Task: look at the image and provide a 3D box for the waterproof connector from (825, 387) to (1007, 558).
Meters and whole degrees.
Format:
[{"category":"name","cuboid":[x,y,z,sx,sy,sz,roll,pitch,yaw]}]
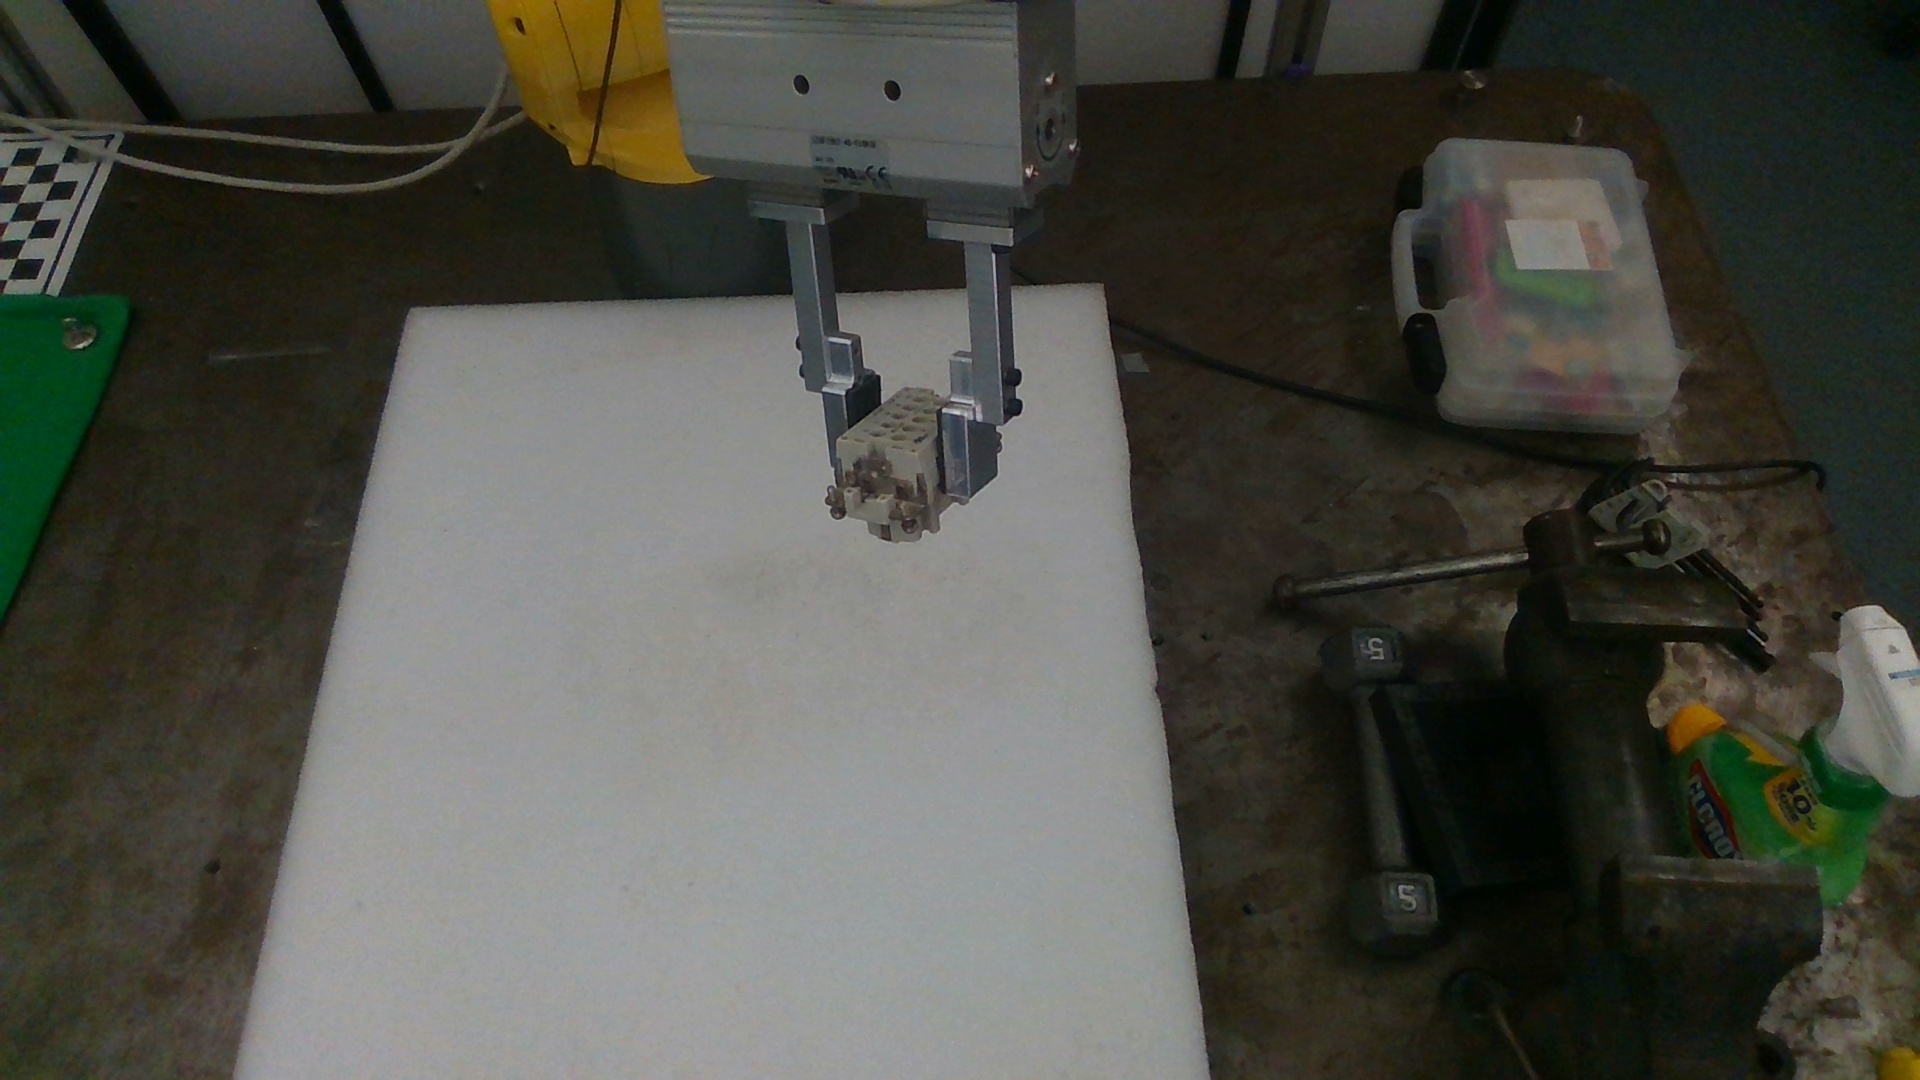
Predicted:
[{"category":"waterproof connector","cuboid":[-0.014,-0.023,0.454,0.037,0.038,0.069,7,34,28]}]
